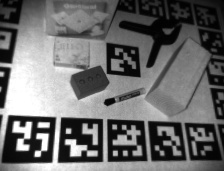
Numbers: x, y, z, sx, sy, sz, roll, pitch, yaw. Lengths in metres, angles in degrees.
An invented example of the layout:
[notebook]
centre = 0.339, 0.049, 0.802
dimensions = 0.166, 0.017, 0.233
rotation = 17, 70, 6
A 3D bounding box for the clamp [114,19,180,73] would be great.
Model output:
[clamp]
centre = 0.130, -0.146, 0.654
dimensions = 0.204, 0.036, 0.165
rotation = -30, 83, -23

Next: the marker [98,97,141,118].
[marker]
centre = 0.020, 0.056, 0.559
dimensions = 0.122, 0.019, 0.019
rotation = -19, 79, -22

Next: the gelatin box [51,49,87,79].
[gelatin box]
centre = -0.111, -0.054, 0.555
dimensions = 0.090, 0.030, 0.073
rotation = 1, 73, -16

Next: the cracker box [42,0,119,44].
[cracker box]
centre = -0.079, -0.181, 0.501
dimensions = 0.165, 0.213, 0.071
rotation = -2, 70, -18

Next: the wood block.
[wood block]
centre = 0.181, -0.011, 0.598
dimensions = 0.090, 0.091, 0.207
rotation = 34, 63, 0

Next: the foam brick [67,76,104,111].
[foam brick]
centre = -0.064, 0.020, 0.529
dimensions = 0.078, 0.051, 0.052
rotation = -24, 81, -22
